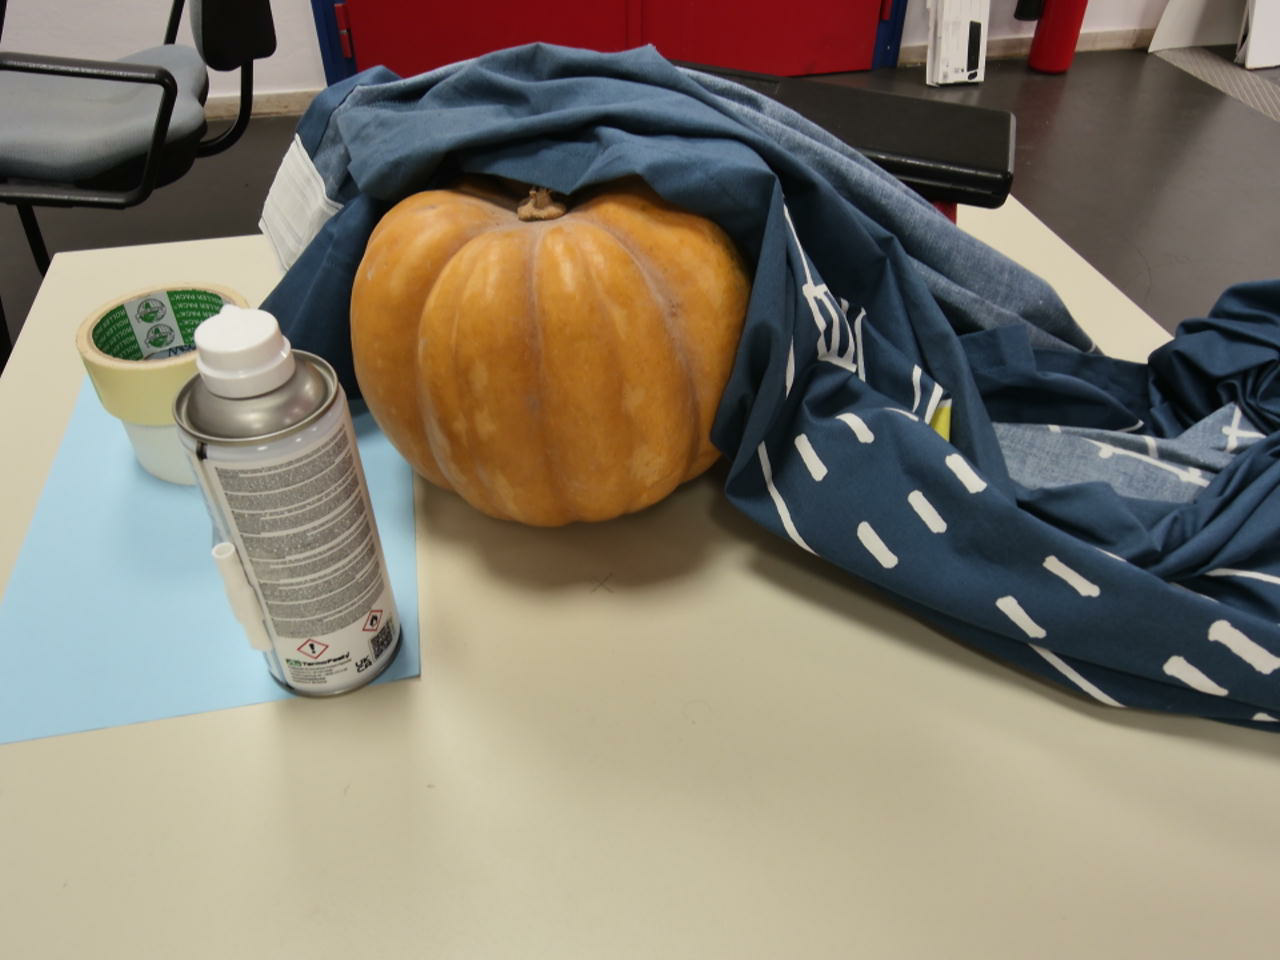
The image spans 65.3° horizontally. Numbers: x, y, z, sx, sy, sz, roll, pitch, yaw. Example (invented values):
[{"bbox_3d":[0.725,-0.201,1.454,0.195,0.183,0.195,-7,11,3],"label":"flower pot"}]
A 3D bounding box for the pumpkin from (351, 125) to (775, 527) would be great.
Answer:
[{"bbox_3d":[-0.039,-0.082,0.547,0.230,0.194,0.230,0,39,0],"label":"pumpkin"}]
